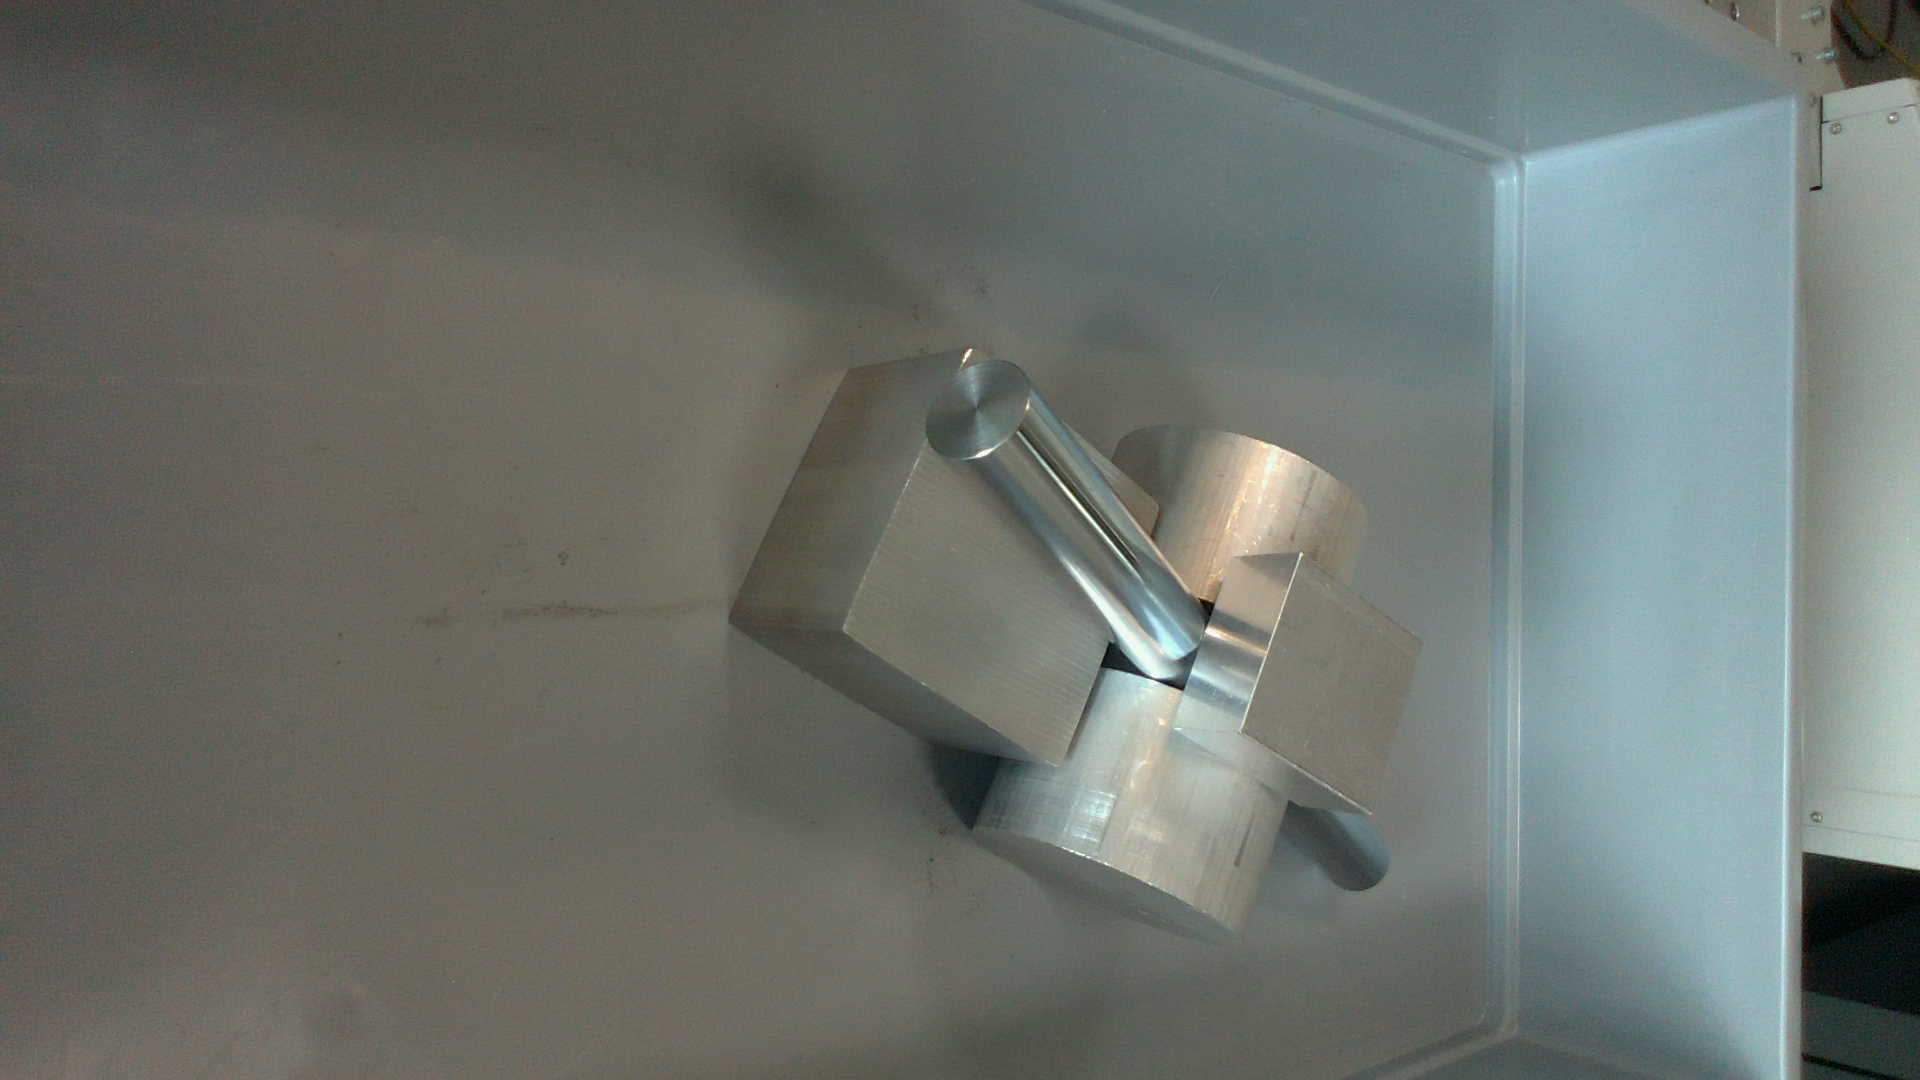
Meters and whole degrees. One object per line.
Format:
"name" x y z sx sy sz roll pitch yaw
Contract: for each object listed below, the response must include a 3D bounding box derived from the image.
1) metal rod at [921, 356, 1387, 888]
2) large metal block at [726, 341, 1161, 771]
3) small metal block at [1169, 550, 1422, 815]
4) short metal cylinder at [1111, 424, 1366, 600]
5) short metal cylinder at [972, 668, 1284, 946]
"metal rod" 0.074 0.044 0.398 0.301 0.025 0.025 45 62 -48
"large metal block" -0.002 0.005 0.367 0.080 0.050 0.080 36 68 -34
"small metal block" 0.088 0.037 0.359 0.050 0.025 0.050 32 70 -26
"short metal cylinder" 0.076 0.007 0.416 0.080 0.080 0.050 34 69 -35
"short metal cylinder" 0.049 0.076 0.393 0.080 0.080 0.050 37 67 -34
